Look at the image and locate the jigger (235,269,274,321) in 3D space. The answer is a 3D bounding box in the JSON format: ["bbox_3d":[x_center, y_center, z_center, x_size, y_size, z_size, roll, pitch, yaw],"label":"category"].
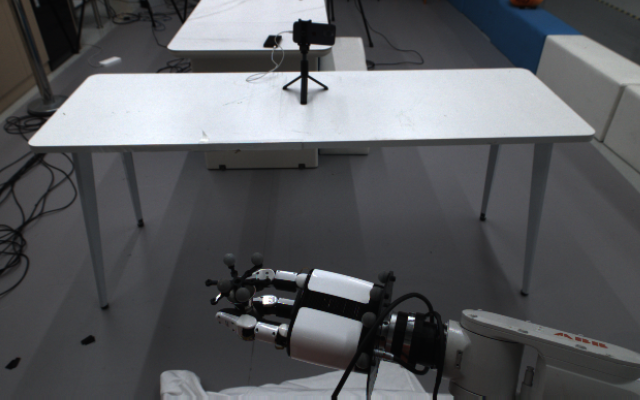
[{"bbox_3d":[-0.095,0.147,0.655,0.043,0.071,0.043,-9,31,5],"label":"jigger"}]
